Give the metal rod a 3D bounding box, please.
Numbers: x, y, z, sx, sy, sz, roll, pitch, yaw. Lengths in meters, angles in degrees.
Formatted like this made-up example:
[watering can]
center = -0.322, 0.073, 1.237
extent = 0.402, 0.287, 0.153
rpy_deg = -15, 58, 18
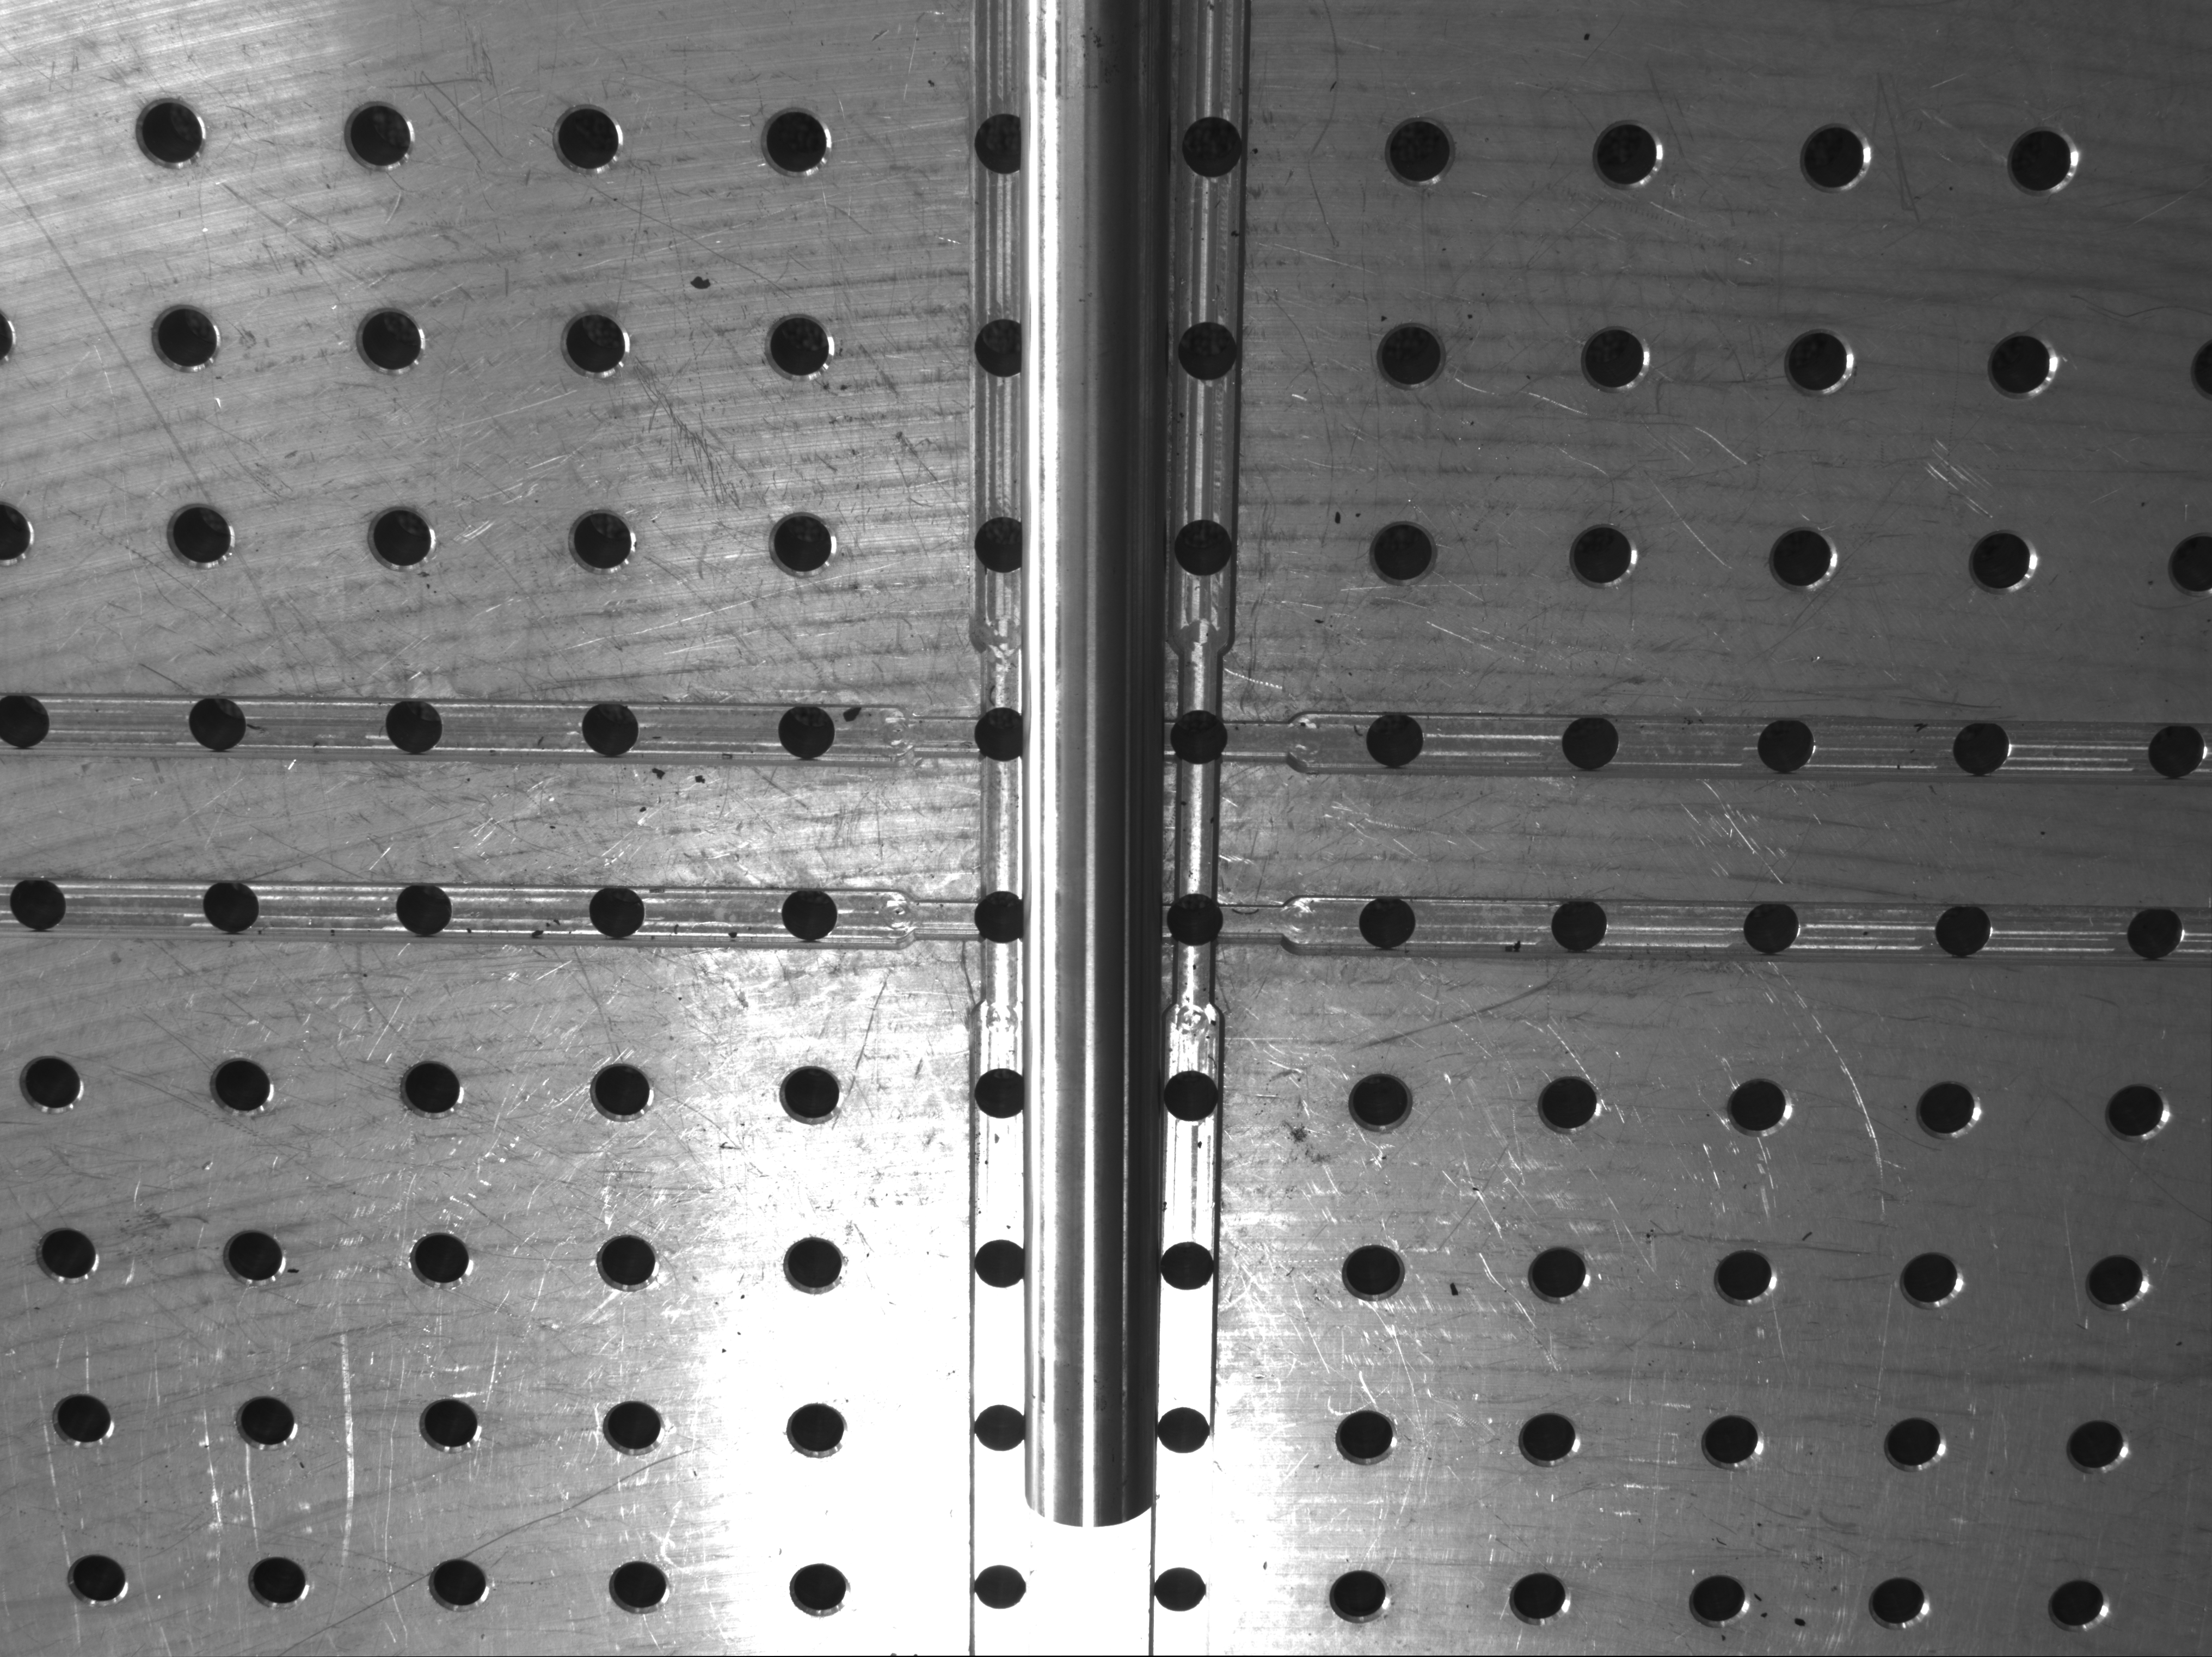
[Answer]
[metal rod]
center = -0.003, -0.015, 0.641
extent = 0.025, 0.025, 0.300
rpy_deg = 0, 110, 0
